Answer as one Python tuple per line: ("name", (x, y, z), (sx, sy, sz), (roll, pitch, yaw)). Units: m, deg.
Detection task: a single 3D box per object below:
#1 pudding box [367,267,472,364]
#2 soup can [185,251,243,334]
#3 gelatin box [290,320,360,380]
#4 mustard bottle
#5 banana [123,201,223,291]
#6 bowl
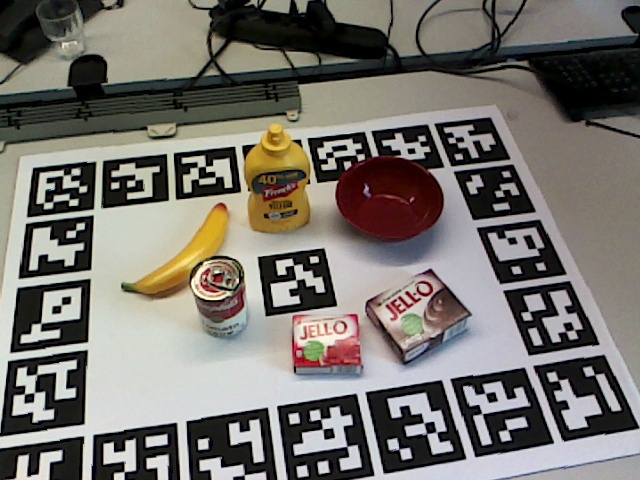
("pudding box", (0.135, 0.103, 0.848), (0.113, 0.038, 0.090), (-28, 64, -19))
("soup can", (-0.138, 0.072, 0.820), (0.068, 0.102, 0.068), (1, 52, -2))
("gelatin box", (0.005, 0.145, 0.821), (0.089, 0.030, 0.073), (-2, 57, -1))
("mustard bottle", (-0.060, -0.092, 0.883), (0.096, 0.191, 0.058), (-7, 51, -6))
("banana", (-0.199, 0.012, 0.914), (0.075, 0.038, 0.197), (21, 55, 27))
("bowl", (0.109, -0.051, 0.956), (0.161, 0.055, 0.162), (-1, 53, 1))
